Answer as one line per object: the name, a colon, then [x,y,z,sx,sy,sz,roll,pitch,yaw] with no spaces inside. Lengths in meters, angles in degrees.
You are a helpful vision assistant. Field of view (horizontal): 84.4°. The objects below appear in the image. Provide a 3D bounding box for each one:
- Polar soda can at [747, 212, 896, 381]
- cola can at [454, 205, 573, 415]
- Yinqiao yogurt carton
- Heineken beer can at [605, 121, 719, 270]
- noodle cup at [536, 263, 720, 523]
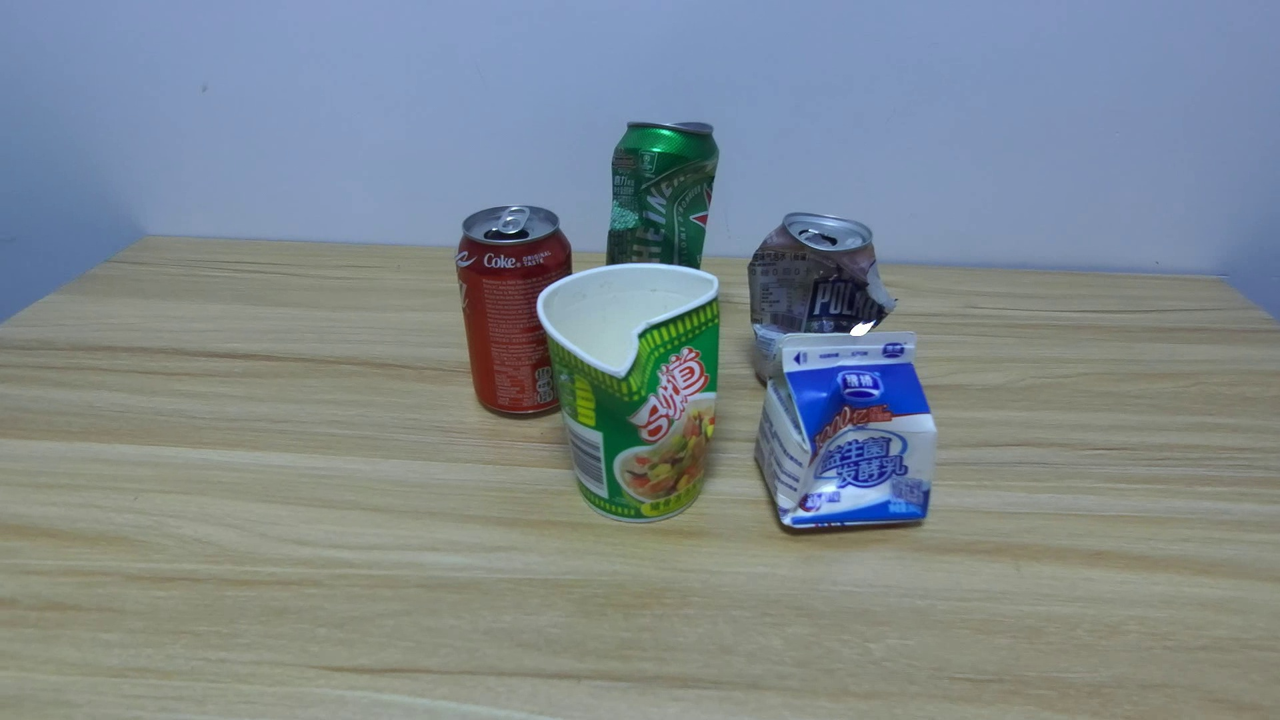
Polar soda can: [0.110,-0.034,0.442,0.074,0.114,0.070,-18,43,-22]
cola can: [-0.072,-0.029,0.429,0.068,0.120,0.068,-1,31,1]
Yinqiao yogurt carton: [0.103,0.028,0.363,0.077,0.094,0.071,-3,26,-6]
Heineken beer can: [0.013,-0.075,0.465,0.067,0.159,0.078,5,26,1]
noodle cup: [-0.001,0.018,0.363,0.094,0.109,0.086,-23,40,-30]
